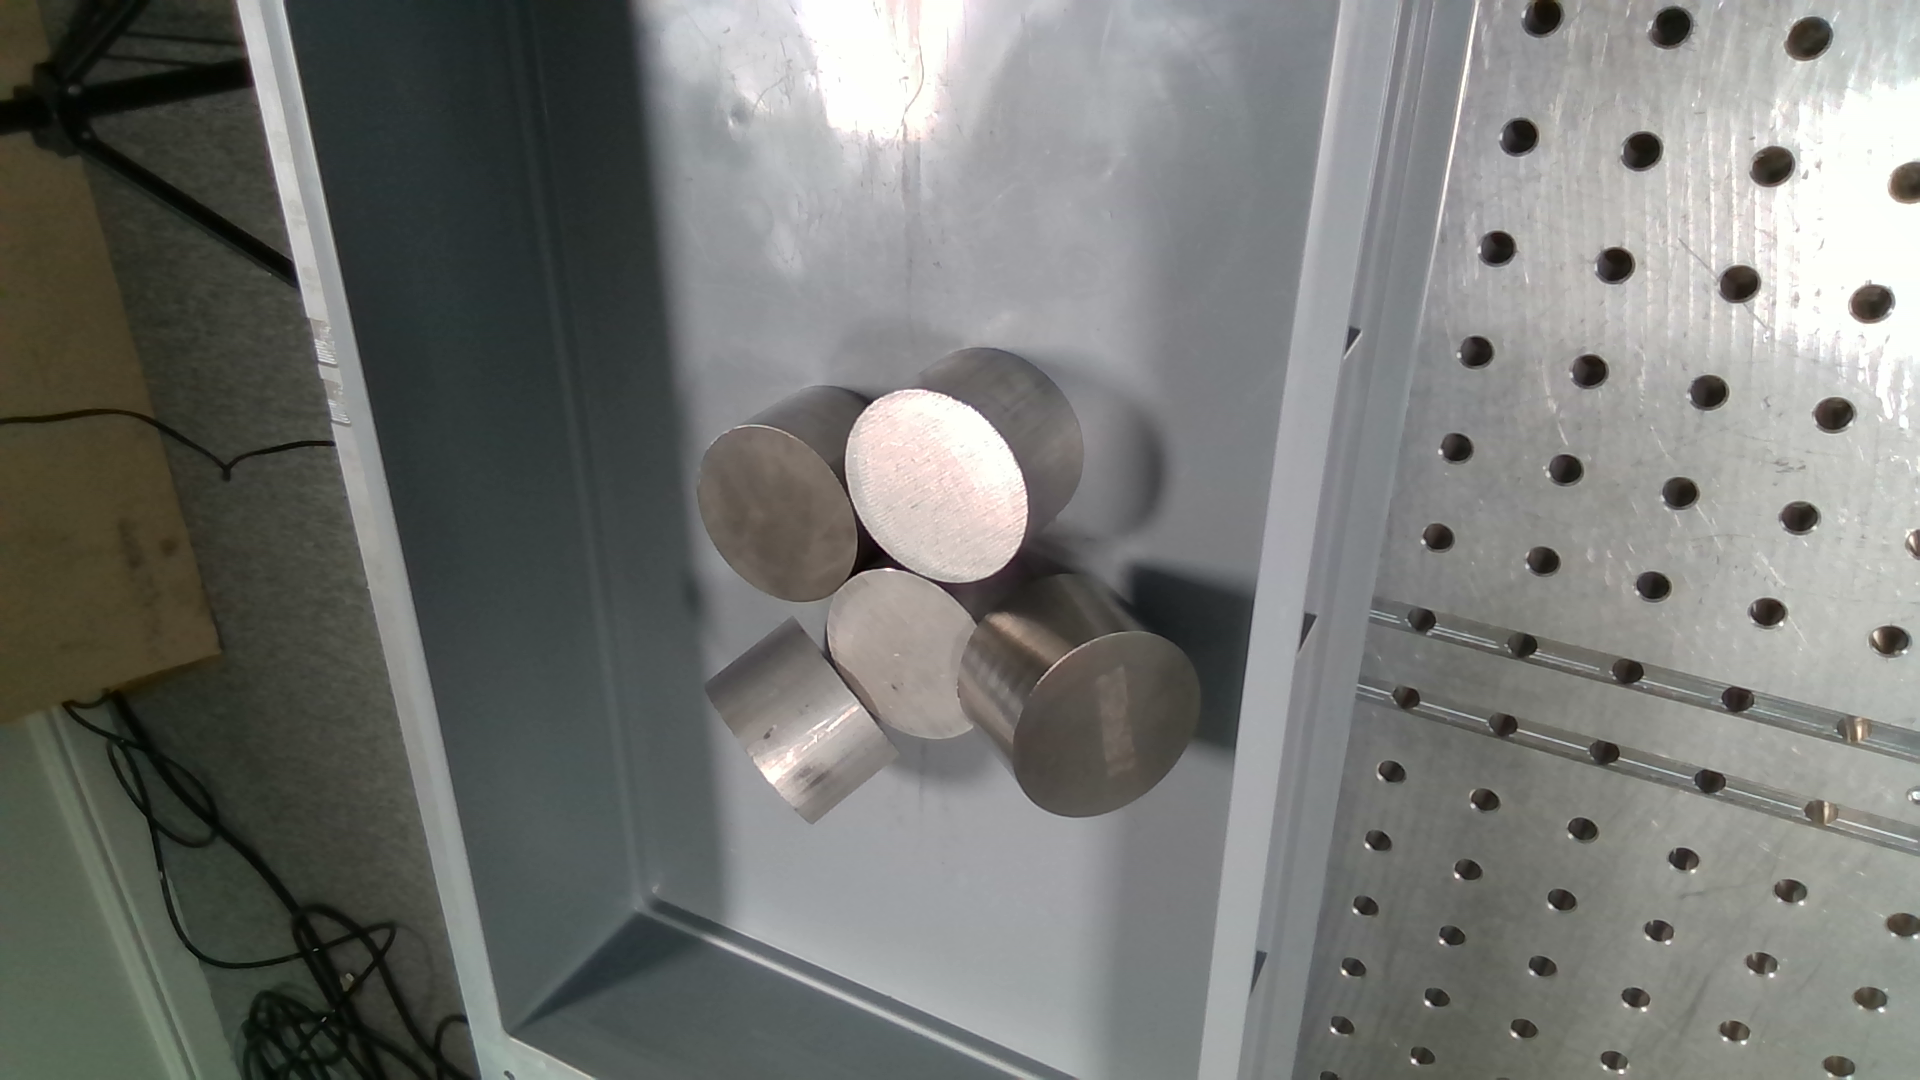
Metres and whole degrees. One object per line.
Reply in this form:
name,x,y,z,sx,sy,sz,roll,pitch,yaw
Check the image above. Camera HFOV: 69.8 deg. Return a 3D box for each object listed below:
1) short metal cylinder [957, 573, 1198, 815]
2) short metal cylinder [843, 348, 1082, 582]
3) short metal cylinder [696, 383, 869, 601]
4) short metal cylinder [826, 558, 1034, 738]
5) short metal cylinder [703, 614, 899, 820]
short metal cylinder,0.045,0.060,0.539,0.050,0.080,0.080,-134,36,-56
short metal cylinder,0.001,-0.030,0.544,0.080,0.050,0.080,14,122,25
short metal cylinder,-0.065,-0.021,0.590,0.080,0.050,0.080,14,122,25
short metal cylinder,-0.010,0.037,0.588,0.080,0.050,0.080,14,122,25
short metal cylinder,-0.071,0.080,0.624,0.080,0.050,0.080,51,173,8
